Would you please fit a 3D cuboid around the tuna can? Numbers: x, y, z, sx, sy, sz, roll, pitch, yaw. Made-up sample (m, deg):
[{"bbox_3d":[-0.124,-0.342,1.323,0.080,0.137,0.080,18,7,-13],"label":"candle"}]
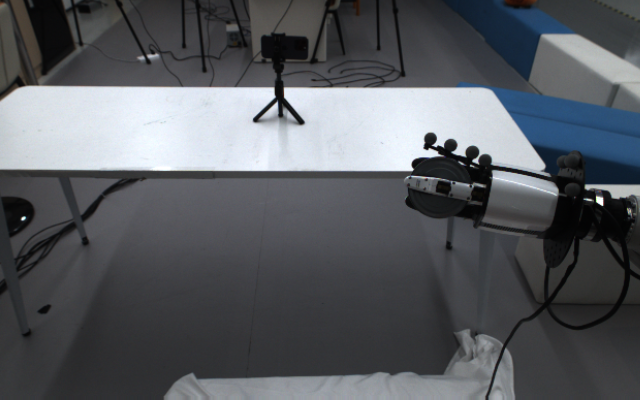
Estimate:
[{"bbox_3d":[0.169,-0.019,0.678,0.085,0.085,0.034,13,2,16],"label":"tuna can"}]
